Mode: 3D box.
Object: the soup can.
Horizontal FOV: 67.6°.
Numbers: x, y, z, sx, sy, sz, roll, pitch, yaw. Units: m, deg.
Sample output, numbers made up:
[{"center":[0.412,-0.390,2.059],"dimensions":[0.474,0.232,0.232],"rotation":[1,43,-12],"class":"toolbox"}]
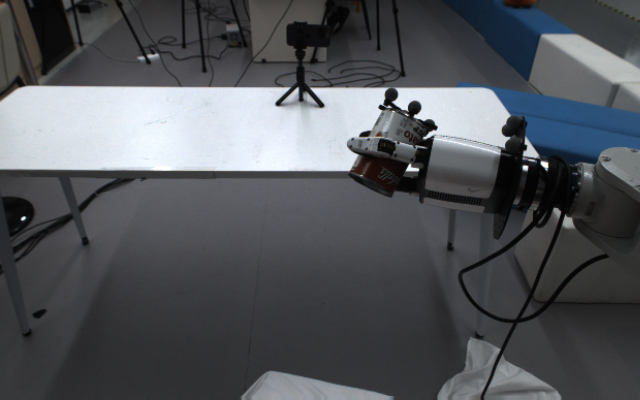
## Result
[{"center":[0.091,-0.064,0.650],"dimensions":[0.067,0.101,0.067],"rotation":[29,-2,1],"class":"soup can"}]
